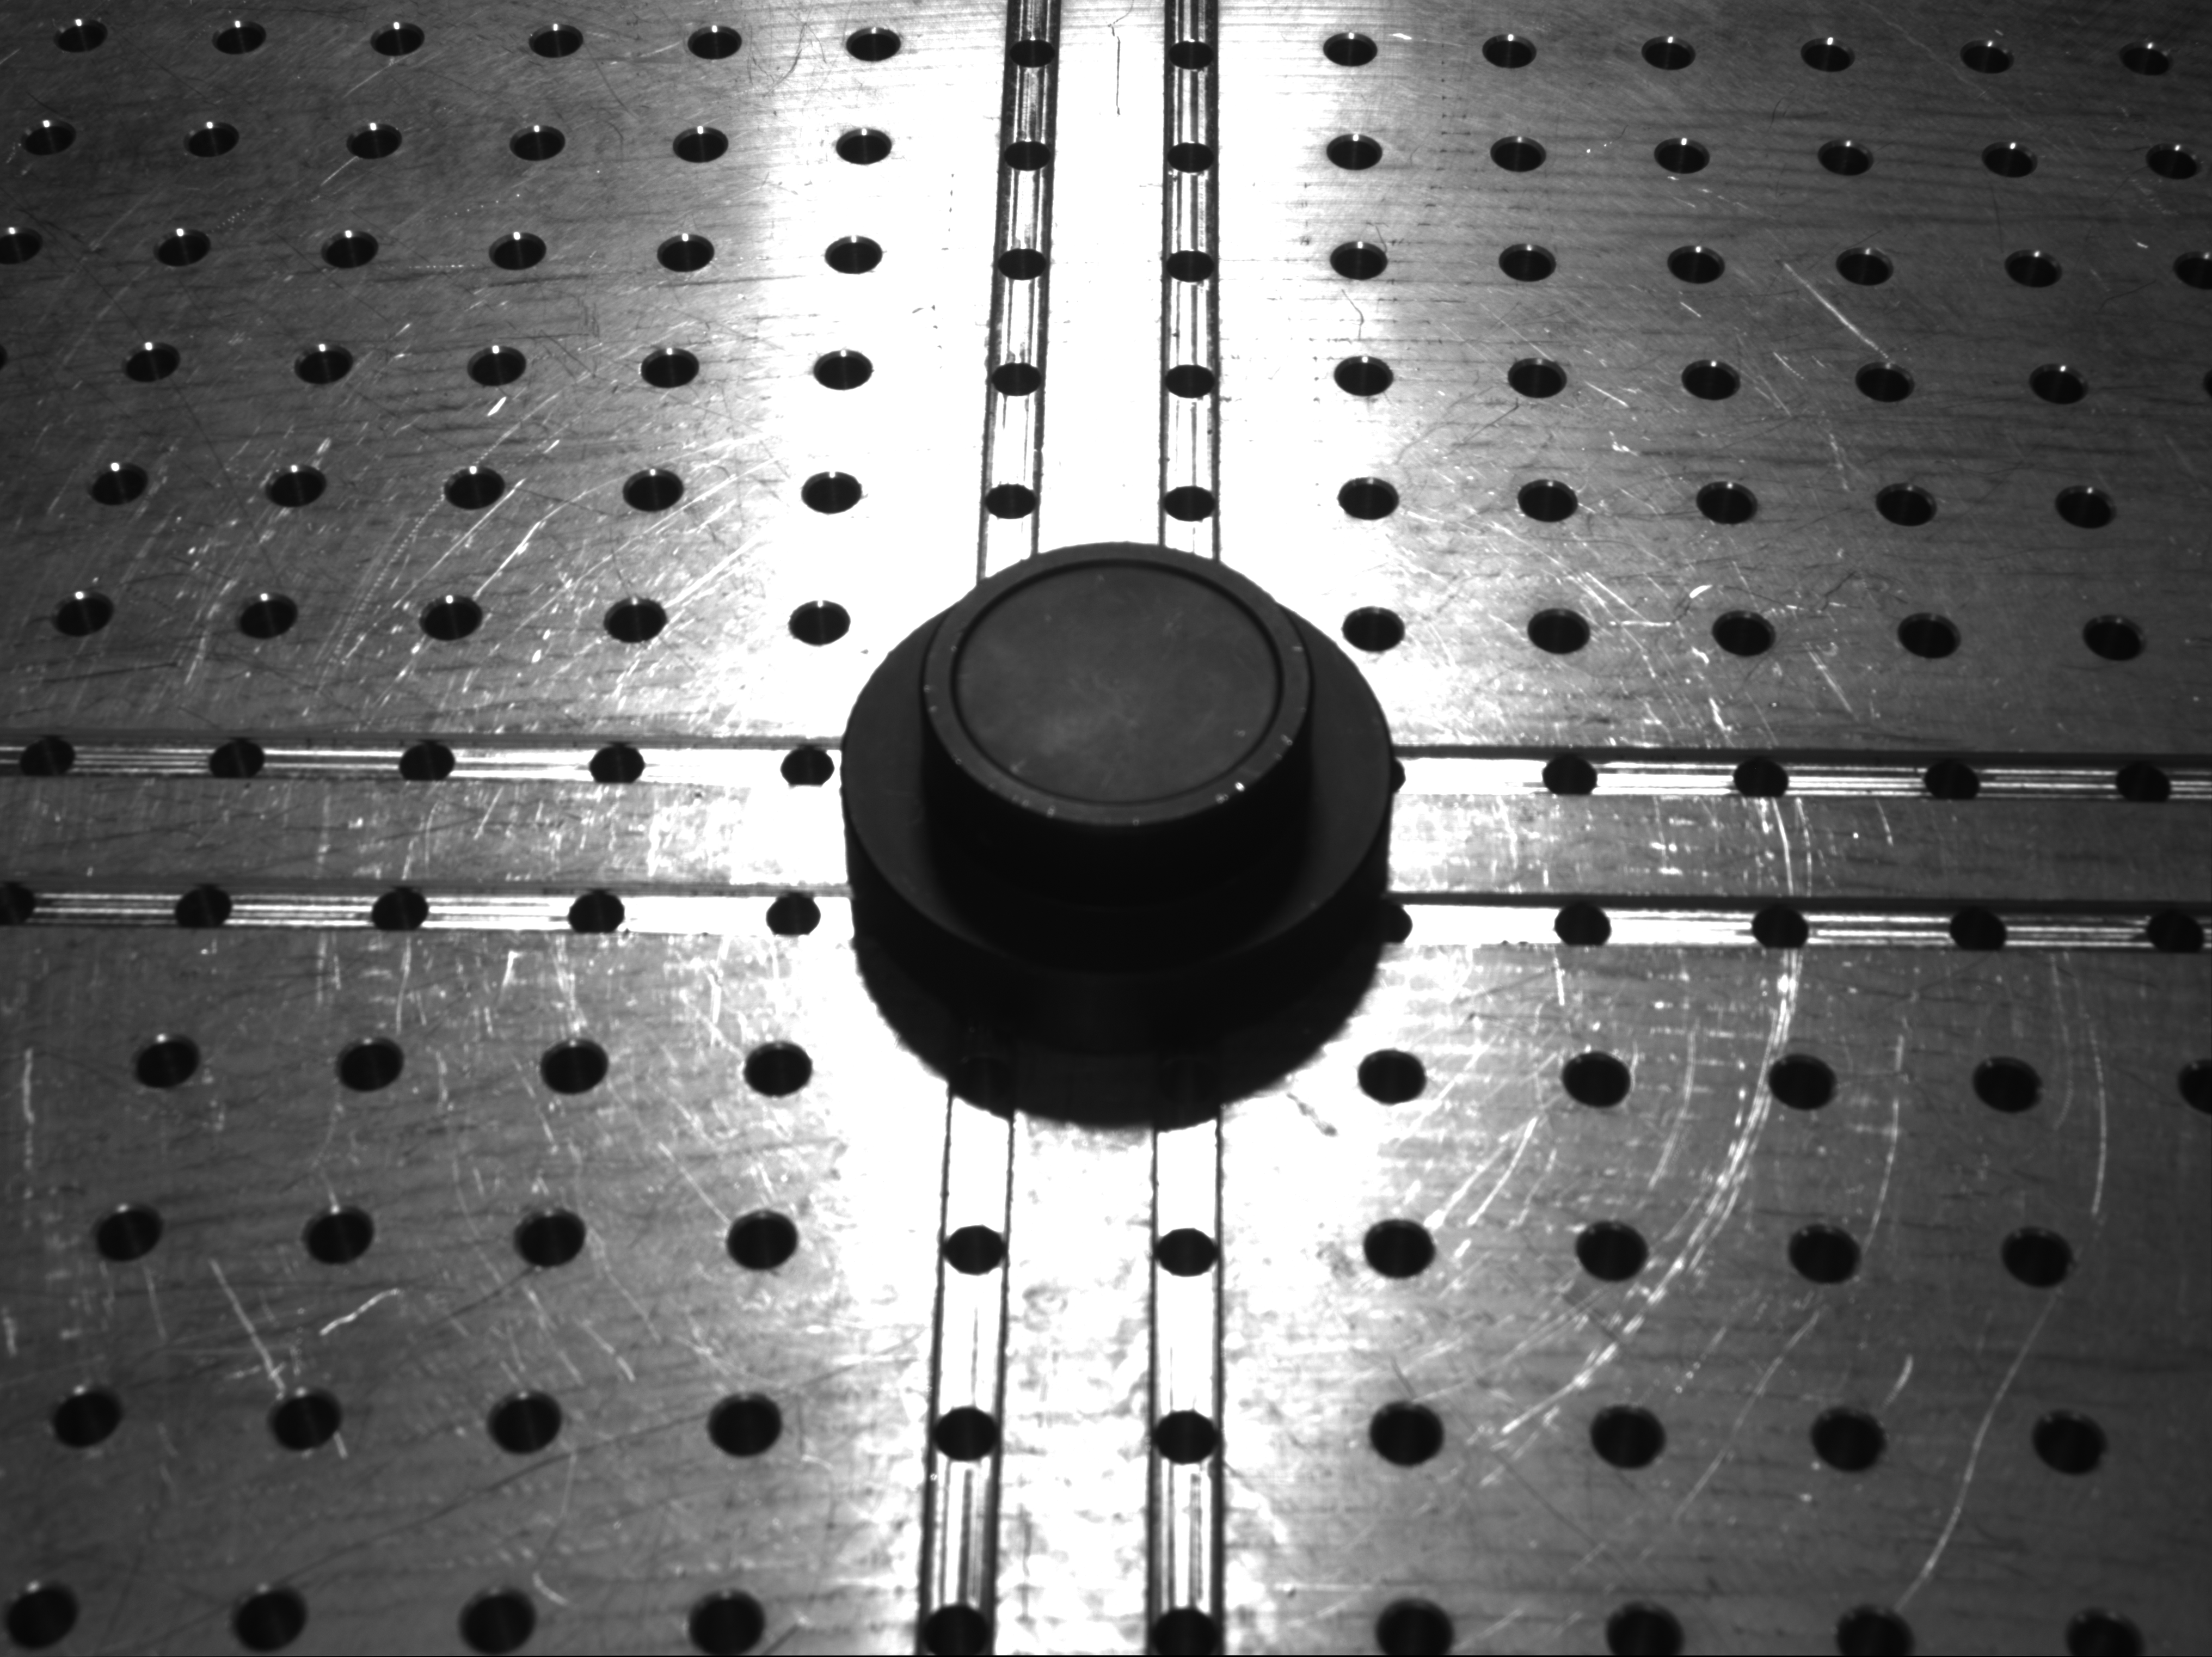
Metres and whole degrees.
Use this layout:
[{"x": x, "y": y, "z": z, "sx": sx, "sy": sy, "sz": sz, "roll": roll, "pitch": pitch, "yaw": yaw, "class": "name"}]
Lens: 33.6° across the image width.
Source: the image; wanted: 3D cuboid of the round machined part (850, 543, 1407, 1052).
[{"x": 0.004, "y": -0.012, "z": 0.644, "sx": 0.098, "sy": 0.042, "sz": 0.098, "roll": 0, "pitch": 50, "yaw": 0, "class": "round machined part"}]
